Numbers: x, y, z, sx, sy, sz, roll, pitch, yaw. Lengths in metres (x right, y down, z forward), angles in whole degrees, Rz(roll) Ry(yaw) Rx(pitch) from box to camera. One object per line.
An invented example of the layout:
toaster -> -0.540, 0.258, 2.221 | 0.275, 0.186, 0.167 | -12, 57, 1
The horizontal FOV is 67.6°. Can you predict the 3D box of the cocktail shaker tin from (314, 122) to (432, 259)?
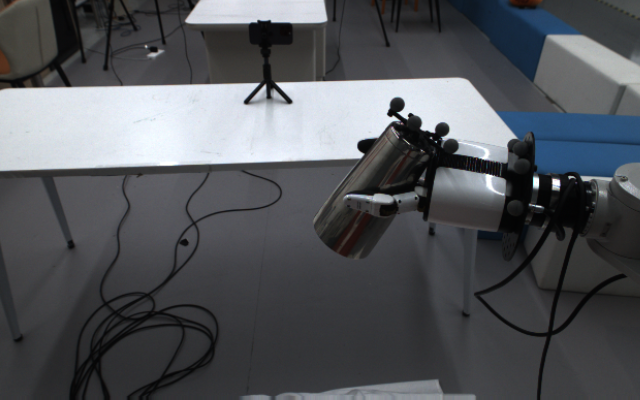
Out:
cocktail shaker tin -> 0.072, -0.019, 0.626 | 0.093, 0.170, 0.093 | 26, 32, -18
